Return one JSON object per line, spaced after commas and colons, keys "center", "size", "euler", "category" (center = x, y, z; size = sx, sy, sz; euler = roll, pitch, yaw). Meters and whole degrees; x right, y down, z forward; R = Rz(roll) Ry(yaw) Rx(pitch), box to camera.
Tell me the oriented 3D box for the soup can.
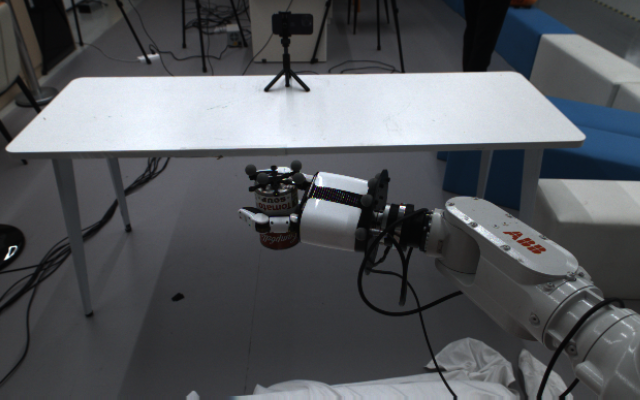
{"center": [-0.064, 0.017, 0.749], "size": [0.067, 0.101, 0.067], "euler": [-2, 33, 1], "category": "soup can"}
